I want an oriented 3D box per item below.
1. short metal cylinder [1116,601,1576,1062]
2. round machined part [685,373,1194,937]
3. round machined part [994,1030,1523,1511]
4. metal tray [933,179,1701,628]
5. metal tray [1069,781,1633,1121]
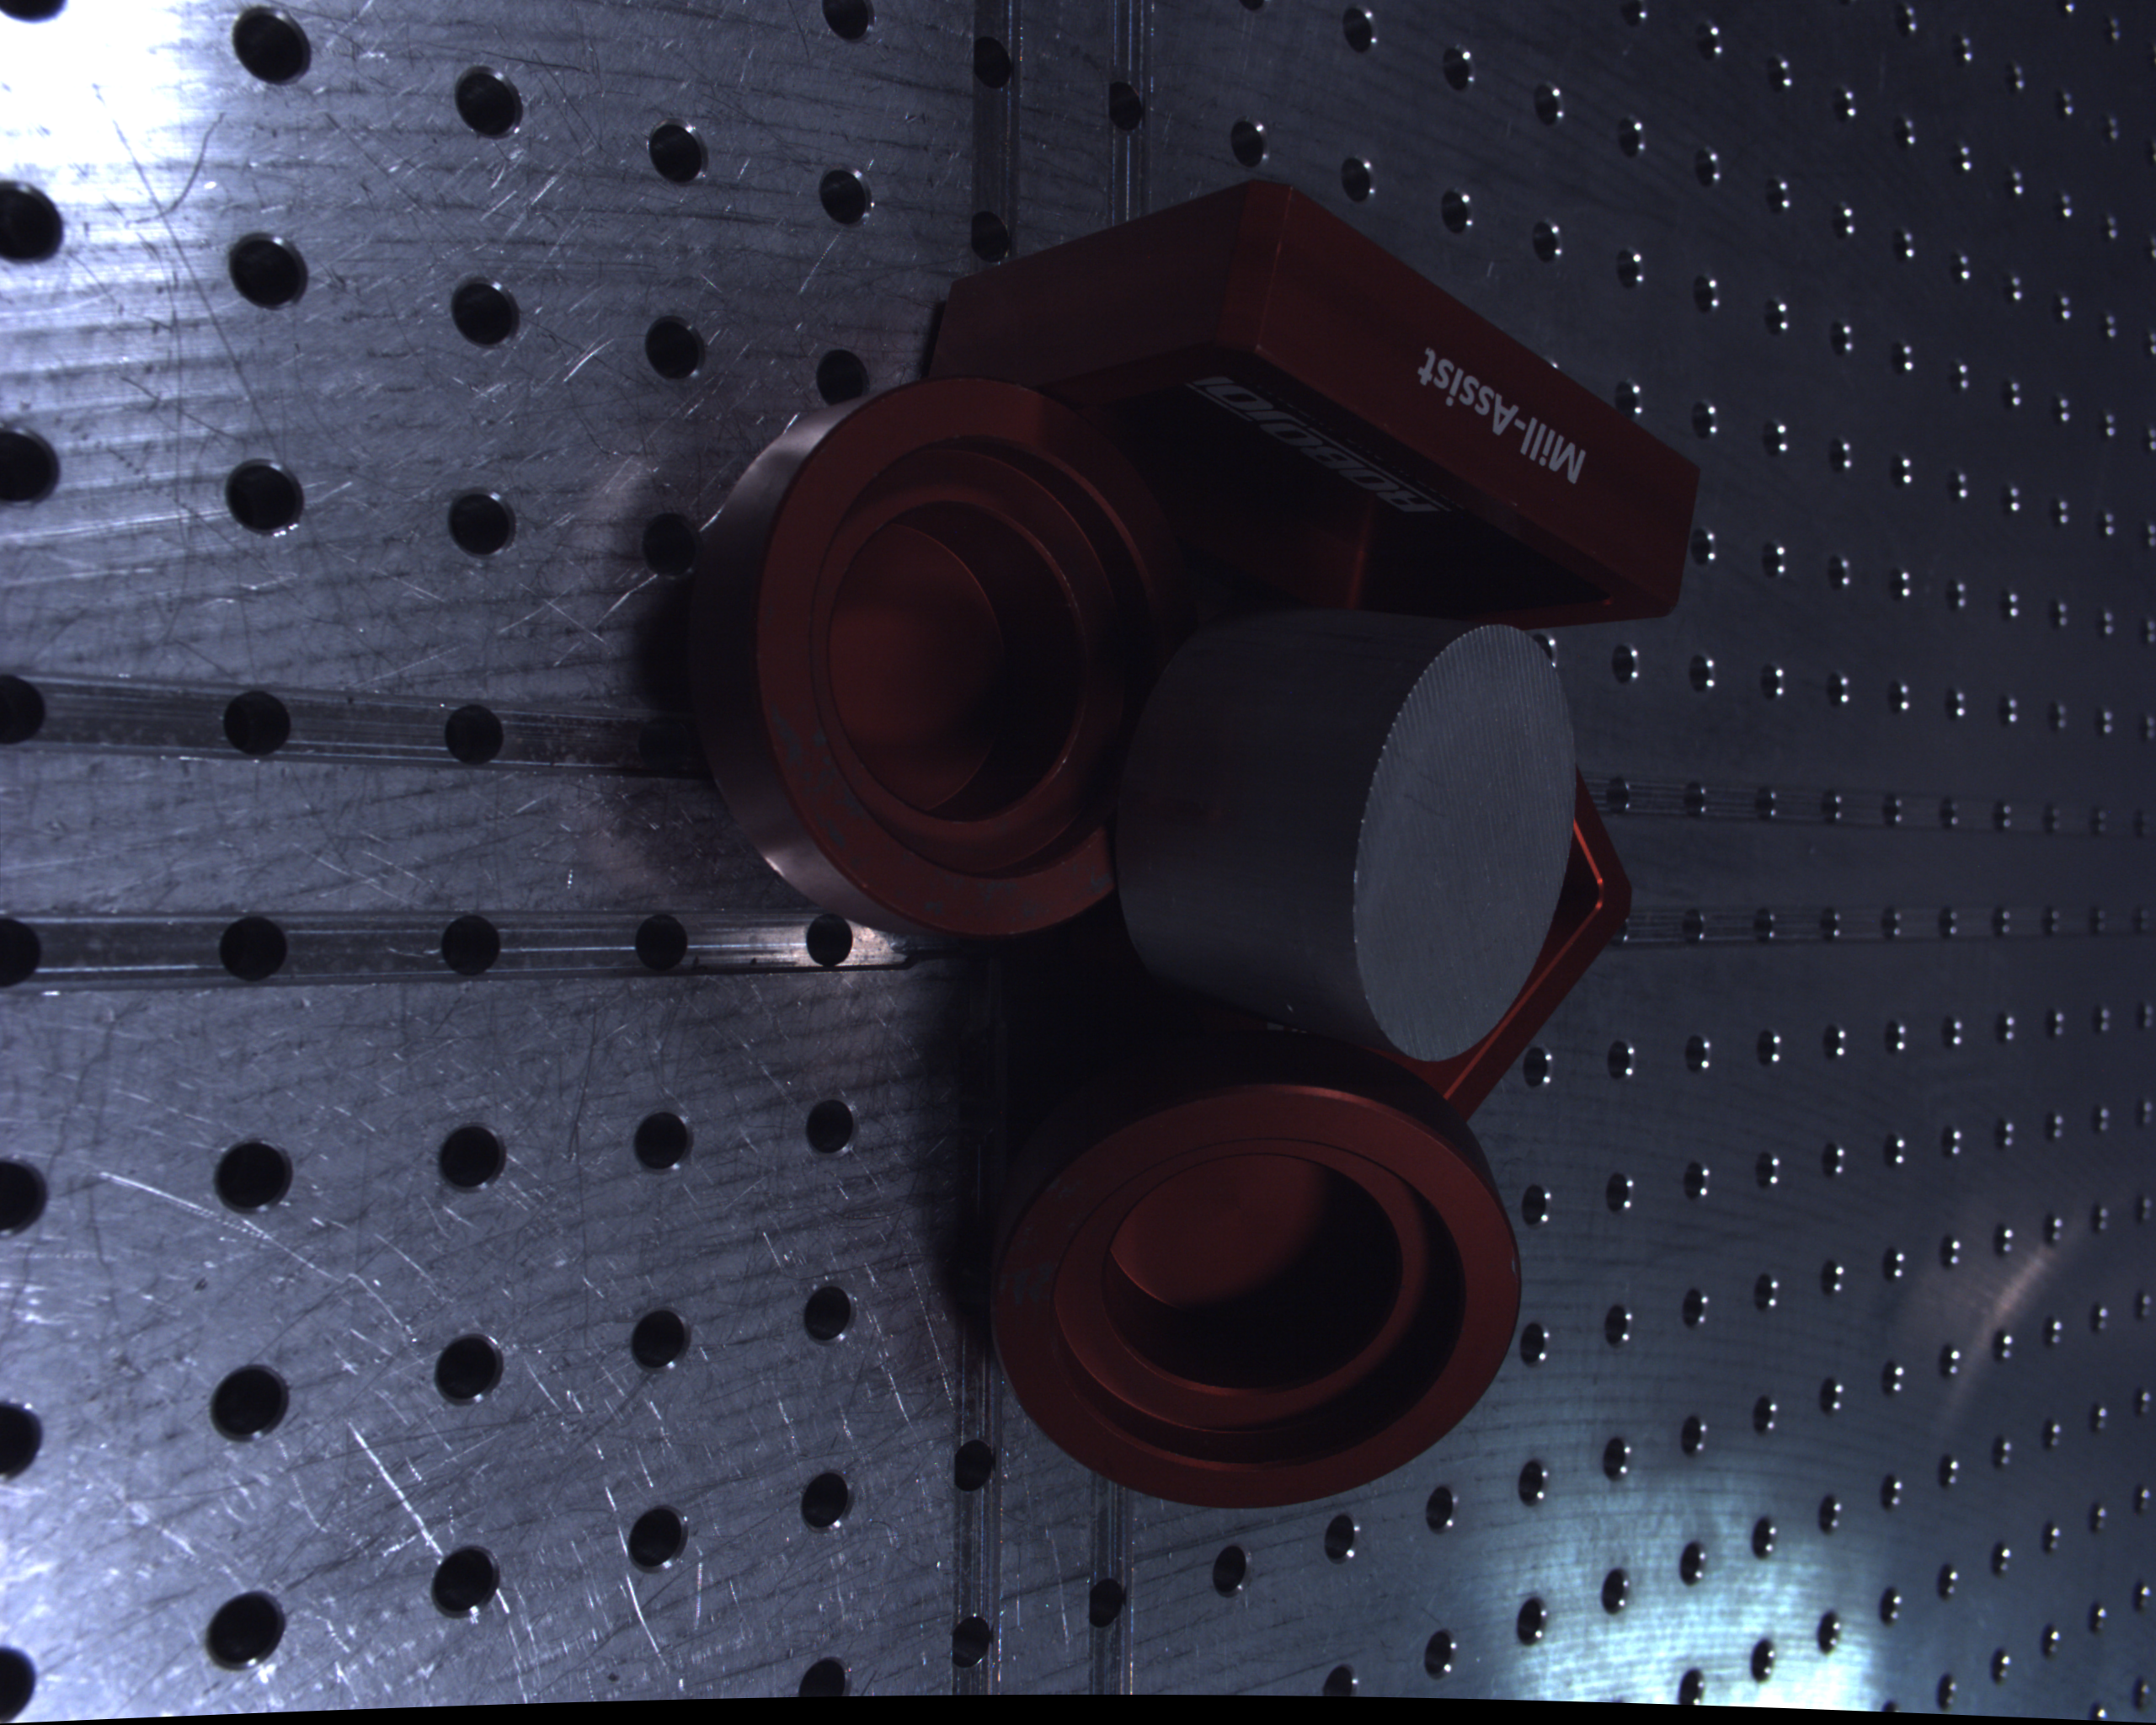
[{"bbox_3d":[0.052,-0.007,0.390,0.081,0.050,0.079,-17,112,-49],"label":"short metal cylinder"},{"bbox_3d":[-0.028,-0.036,0.377,0.099,0.042,0.097,0,90,-40],"label":"round machined part"},{"bbox_3d":[0.033,0.074,0.405,0.099,0.042,0.097,-1,115,-2],"label":"round machined part"},{"bbox_3d":[0.047,-0.081,0.408,0.131,0.090,0.030,19,78,-39],"label":"metal tray"},{"bbox_3d":[0.066,0.013,0.463,0.131,0.030,0.090,-44,117,-31],"label":"metal tray"}]
